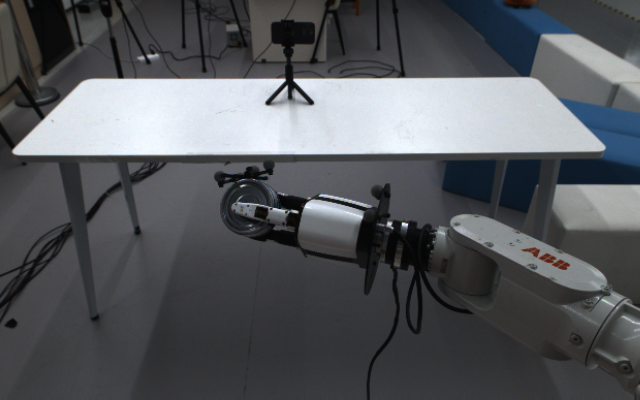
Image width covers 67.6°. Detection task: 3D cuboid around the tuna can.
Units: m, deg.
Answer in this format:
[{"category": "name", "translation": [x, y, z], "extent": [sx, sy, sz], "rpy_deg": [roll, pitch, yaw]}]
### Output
[{"category": "tuna can", "translation": [-0.100, 0.018, 0.714], "extent": [0.085, 0.085, 0.034], "rpy_deg": [12, -6, 15]}]
